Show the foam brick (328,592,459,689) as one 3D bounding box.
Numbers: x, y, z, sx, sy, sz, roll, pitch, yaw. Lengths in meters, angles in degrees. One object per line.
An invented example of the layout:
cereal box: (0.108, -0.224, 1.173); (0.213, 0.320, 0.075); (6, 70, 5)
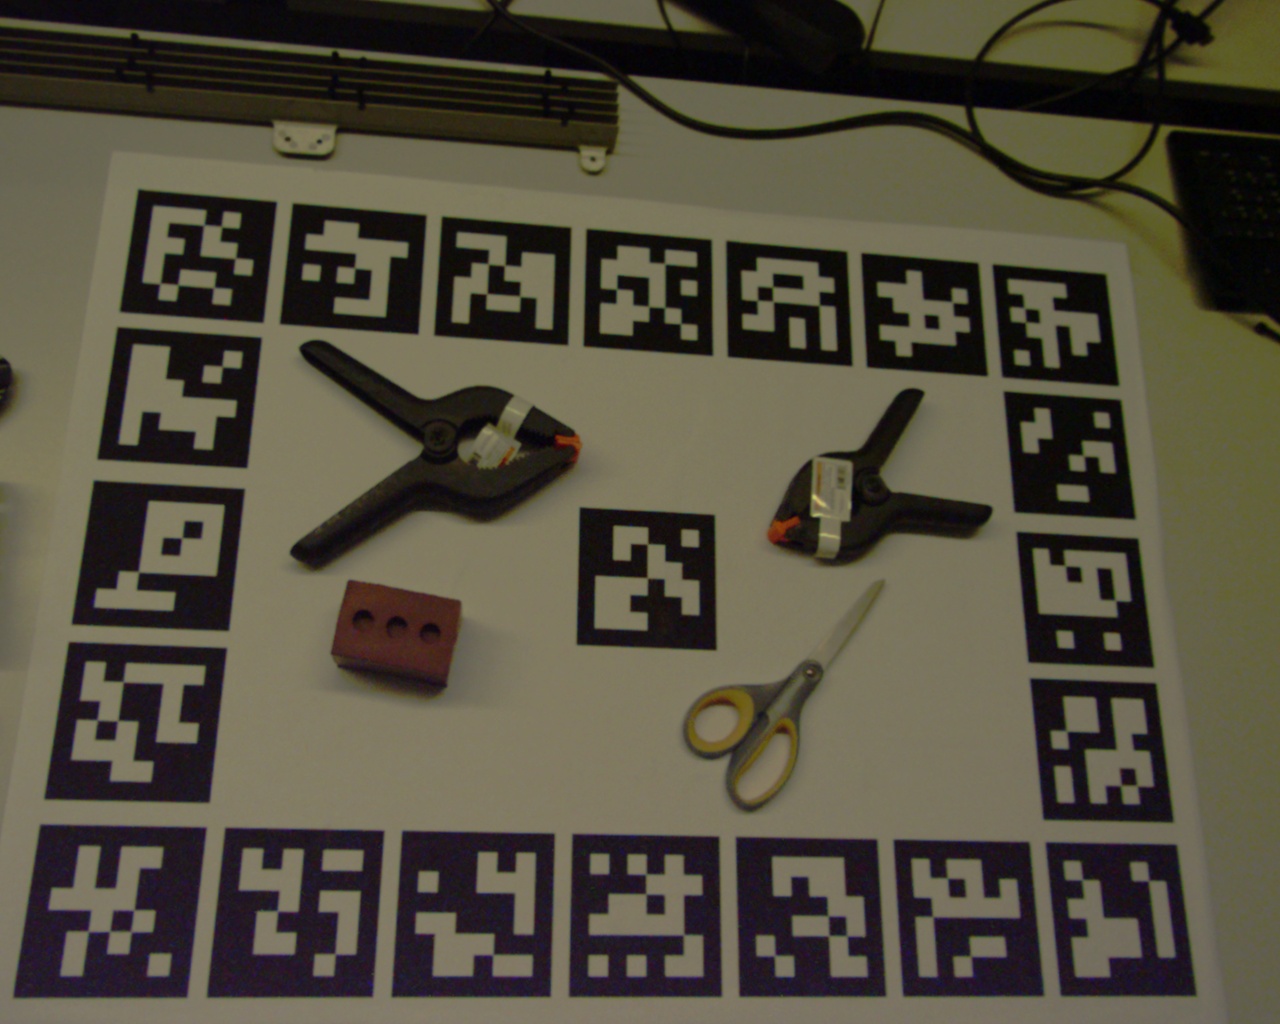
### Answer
foam brick: (-0.172, 0.092, 0.804); (0.078, 0.051, 0.053); (9, 75, -2)

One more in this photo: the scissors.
scissors: (0.103, 0.125, 0.848); (0.087, 0.016, 0.202); (42, 72, -4)

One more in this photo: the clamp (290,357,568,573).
clamp: (-0.155, -0.038, 0.847); (0.202, 0.037, 0.166); (-1, 72, -10)

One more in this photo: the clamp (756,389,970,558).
clamp: (0.165, -0.013, 0.891); (0.164, 0.037, 0.122); (-25, 87, -13)
